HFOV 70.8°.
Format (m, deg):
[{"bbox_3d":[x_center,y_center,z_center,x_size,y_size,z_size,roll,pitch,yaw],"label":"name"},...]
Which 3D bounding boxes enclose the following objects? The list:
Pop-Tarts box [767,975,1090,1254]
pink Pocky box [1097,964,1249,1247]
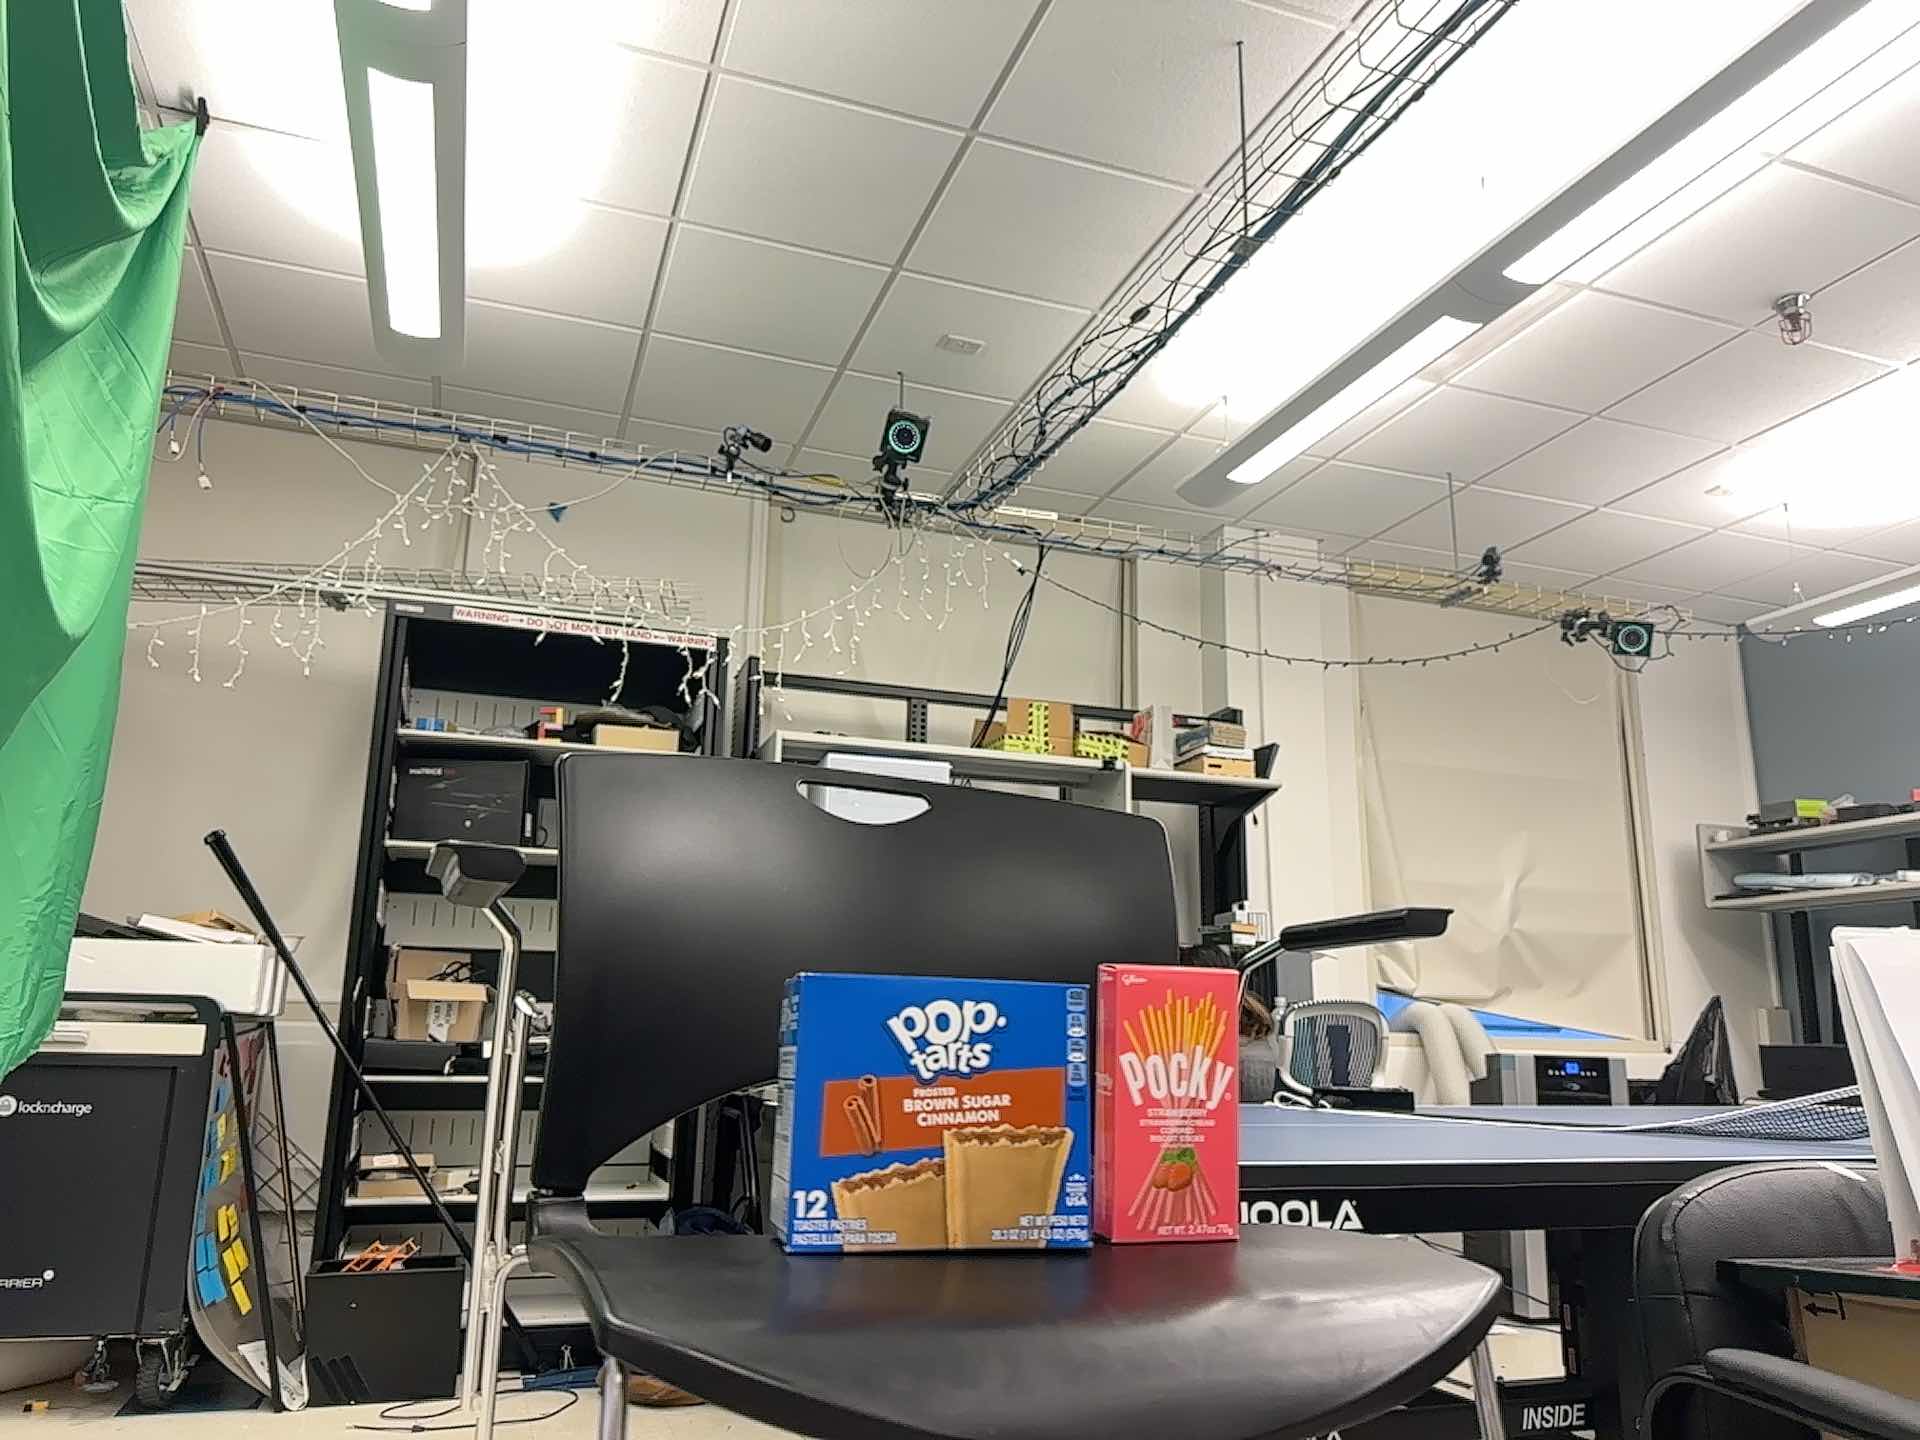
[{"bbox_3d":[-0.017,0.219,0.758,0.161,0.135,0.075,6,-15,-18],"label":"Pop-Tarts box"},{"bbox_3d":[0.124,0.221,0.782,0.084,0.155,0.029,6,-9,-22],"label":"pink Pocky box"}]
